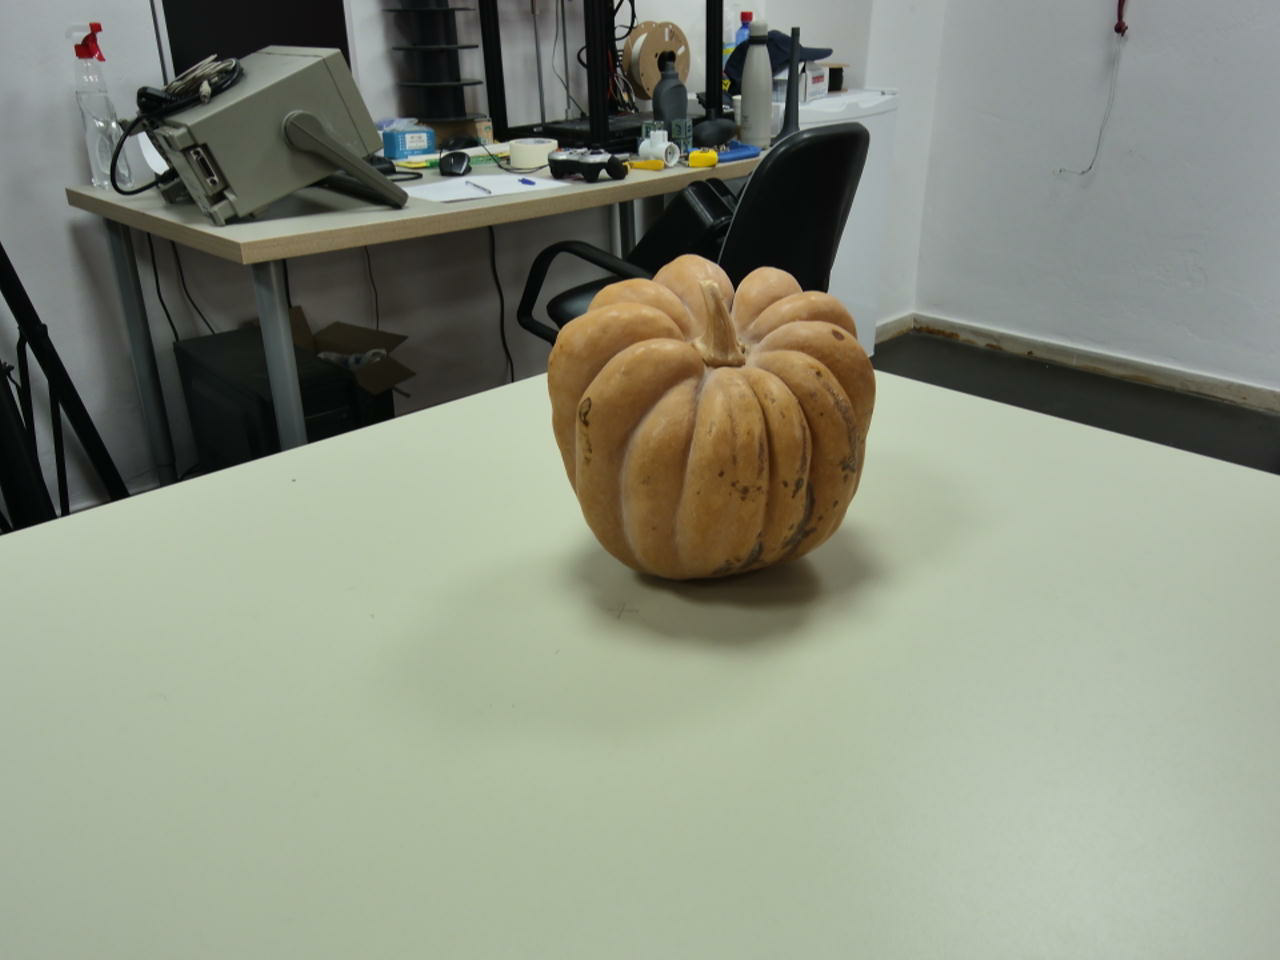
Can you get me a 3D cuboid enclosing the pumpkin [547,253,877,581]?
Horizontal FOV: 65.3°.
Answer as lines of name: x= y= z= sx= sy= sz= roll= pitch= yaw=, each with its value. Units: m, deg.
pumpkin: x=0.042 y=-0.036 z=0.597 sx=0.199 sy=0.177 sz=0.198 roll=-1 pitch=24 yaw=0
